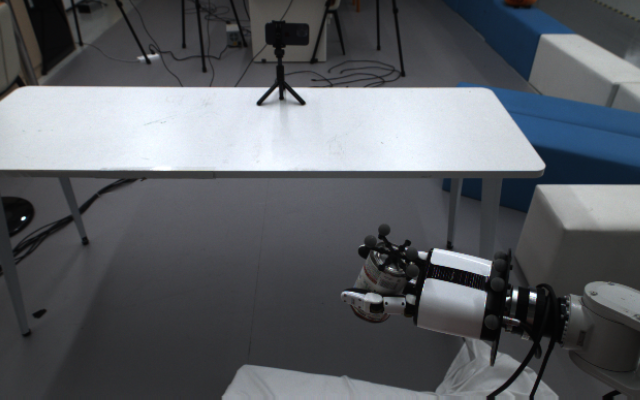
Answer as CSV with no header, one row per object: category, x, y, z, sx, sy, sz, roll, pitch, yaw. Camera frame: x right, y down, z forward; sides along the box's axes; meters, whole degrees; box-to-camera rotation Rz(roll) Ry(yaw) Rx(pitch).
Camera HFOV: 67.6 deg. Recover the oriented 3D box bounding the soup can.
soup can,0.090,0.119,0.699,0.067,0.101,0.067,13,35,-9
